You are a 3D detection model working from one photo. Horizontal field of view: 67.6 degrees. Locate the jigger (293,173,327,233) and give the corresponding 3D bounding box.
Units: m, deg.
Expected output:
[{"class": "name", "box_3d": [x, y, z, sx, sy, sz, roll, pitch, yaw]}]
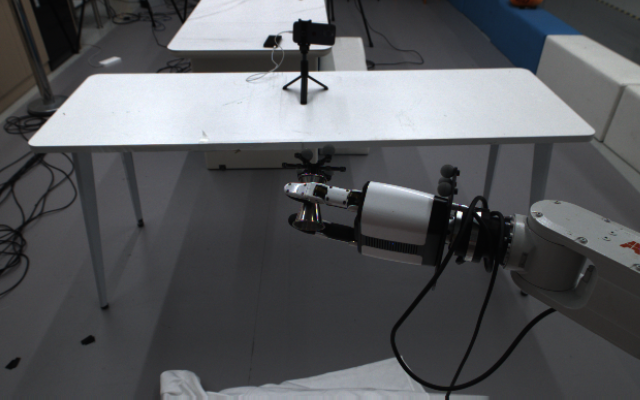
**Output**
[{"class": "jigger", "box_3d": [-0.014, 0.002, 0.655, 0.043, 0.043, 0.071, 4, 71, 3]}]
